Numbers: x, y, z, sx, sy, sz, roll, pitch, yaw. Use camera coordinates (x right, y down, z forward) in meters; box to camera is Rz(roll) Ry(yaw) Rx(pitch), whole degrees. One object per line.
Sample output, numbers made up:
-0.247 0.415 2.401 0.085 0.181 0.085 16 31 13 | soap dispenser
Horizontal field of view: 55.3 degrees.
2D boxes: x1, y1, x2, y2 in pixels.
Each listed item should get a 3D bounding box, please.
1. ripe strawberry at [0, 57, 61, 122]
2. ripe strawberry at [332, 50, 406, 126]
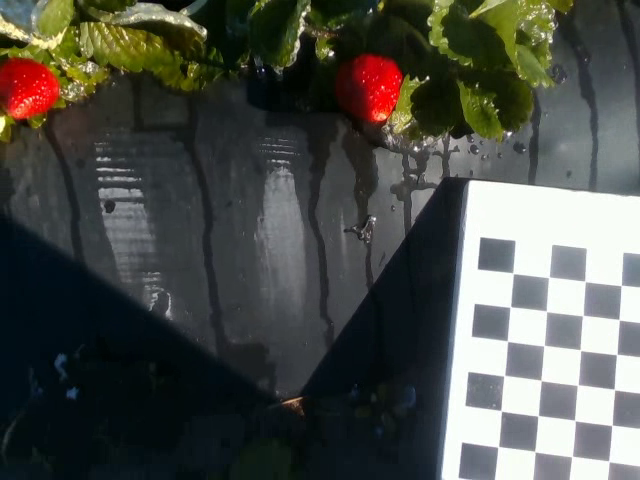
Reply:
-0.168 -0.083 0.342 0.037 0.040 0.051 -8 35 2 | ripe strawberry
0.028 -0.080 0.333 0.041 0.053 0.047 0 -45 2 | ripe strawberry
